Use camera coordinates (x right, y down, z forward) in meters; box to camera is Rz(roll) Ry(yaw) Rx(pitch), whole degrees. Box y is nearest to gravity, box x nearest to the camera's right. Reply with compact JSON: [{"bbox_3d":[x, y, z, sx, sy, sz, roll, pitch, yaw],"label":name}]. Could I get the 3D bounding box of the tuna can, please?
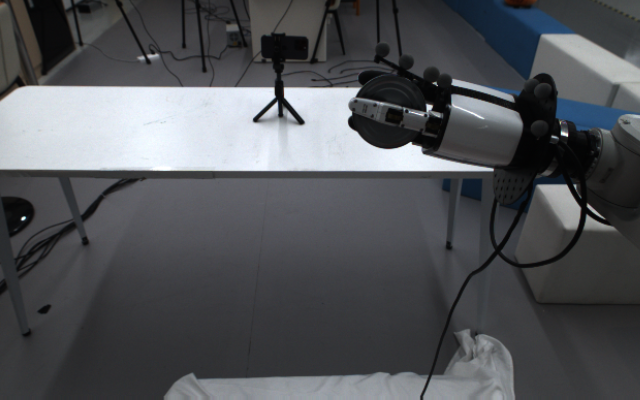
[{"bbox_3d":[0.084,-0.108,0.577,0.085,0.085,0.034,7,17,7],"label":"tuna can"}]
